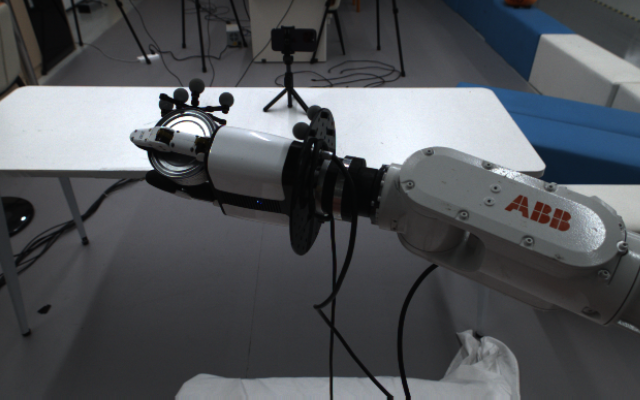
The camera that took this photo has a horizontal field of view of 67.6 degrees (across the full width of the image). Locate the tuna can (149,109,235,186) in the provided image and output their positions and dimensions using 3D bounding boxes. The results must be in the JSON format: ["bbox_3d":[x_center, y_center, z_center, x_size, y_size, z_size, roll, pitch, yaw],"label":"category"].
[{"bbox_3d":[-0.151,-0.061,0.557,0.085,0.034,0.085,-5,70,14],"label":"tuna can"}]
